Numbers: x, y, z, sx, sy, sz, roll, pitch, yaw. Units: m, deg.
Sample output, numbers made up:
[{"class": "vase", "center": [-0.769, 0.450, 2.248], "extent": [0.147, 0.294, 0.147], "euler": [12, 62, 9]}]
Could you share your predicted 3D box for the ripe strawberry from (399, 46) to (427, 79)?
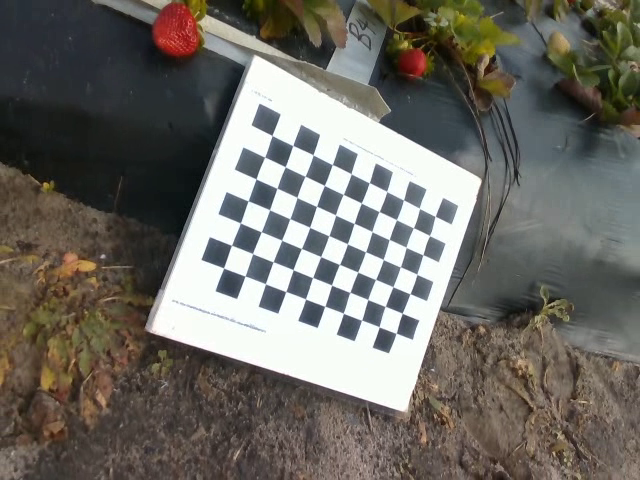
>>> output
[{"class": "ripe strawberry", "center": [0.100, -0.186, 0.666], "extent": [0.037, 0.030, 0.048], "euler": [38, 22, -21]}]

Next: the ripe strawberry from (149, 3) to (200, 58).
[{"class": "ripe strawberry", "center": [-0.116, -0.168, 0.512], "extent": [0.030, 0.048, 0.052], "euler": [-14, 19, 41]}]
